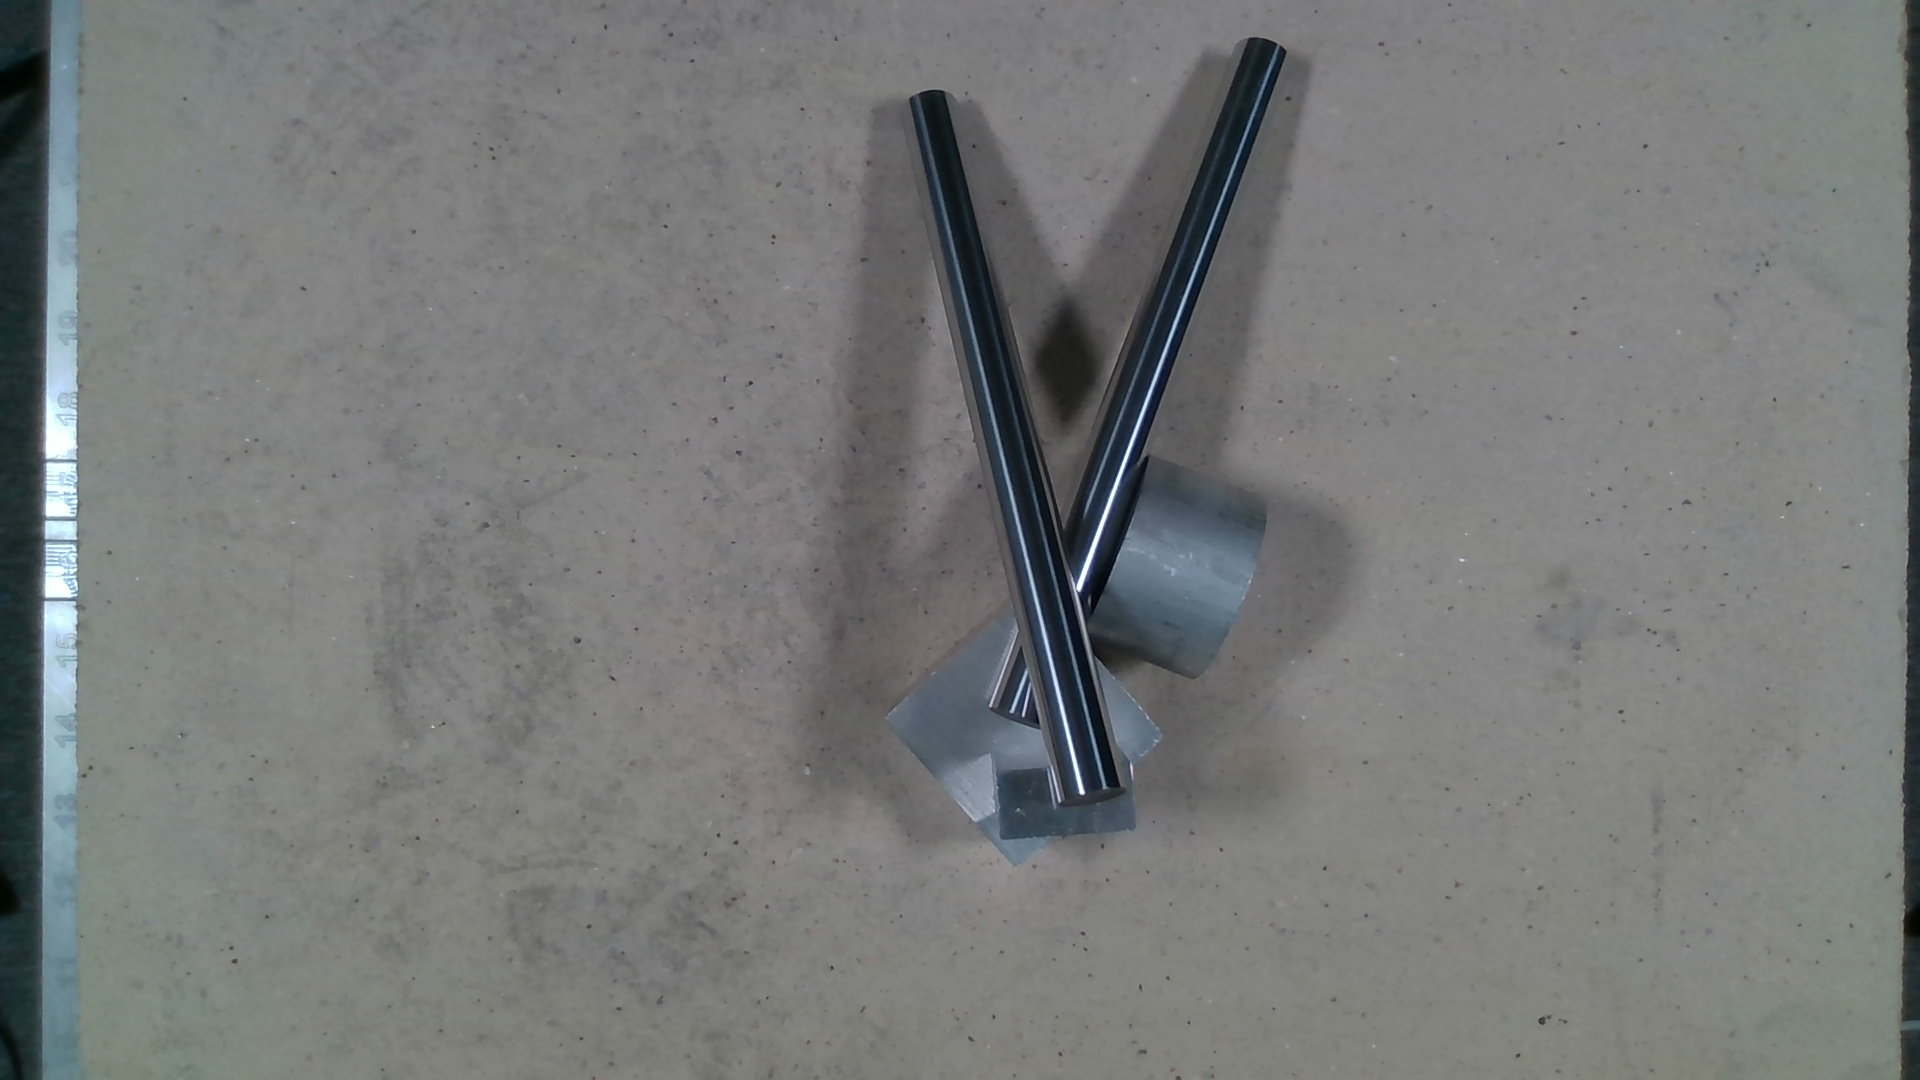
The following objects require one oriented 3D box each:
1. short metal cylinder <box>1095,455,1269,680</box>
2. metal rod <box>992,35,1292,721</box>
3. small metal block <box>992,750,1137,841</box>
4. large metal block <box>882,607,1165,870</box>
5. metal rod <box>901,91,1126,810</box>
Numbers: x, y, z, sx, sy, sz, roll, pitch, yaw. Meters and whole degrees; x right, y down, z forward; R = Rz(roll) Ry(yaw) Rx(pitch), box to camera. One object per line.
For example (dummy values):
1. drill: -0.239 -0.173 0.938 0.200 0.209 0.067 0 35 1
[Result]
1. short metal cylinder: 0.086 0.011 0.561 0.050 0.080 0.080 21 90 0
2. metal rod: 0.077 -0.070 0.558 0.025 0.025 0.300 21 79 0
3. small metal block: 0.038 0.095 0.523 0.050 0.050 0.025 -4 90 0
4. large metal block: 0.025 0.075 0.574 0.080 0.050 0.080 -41 89 0
5. metal rod: 0.017 -0.046 0.534 0.025 0.025 0.299 -12 70 0
